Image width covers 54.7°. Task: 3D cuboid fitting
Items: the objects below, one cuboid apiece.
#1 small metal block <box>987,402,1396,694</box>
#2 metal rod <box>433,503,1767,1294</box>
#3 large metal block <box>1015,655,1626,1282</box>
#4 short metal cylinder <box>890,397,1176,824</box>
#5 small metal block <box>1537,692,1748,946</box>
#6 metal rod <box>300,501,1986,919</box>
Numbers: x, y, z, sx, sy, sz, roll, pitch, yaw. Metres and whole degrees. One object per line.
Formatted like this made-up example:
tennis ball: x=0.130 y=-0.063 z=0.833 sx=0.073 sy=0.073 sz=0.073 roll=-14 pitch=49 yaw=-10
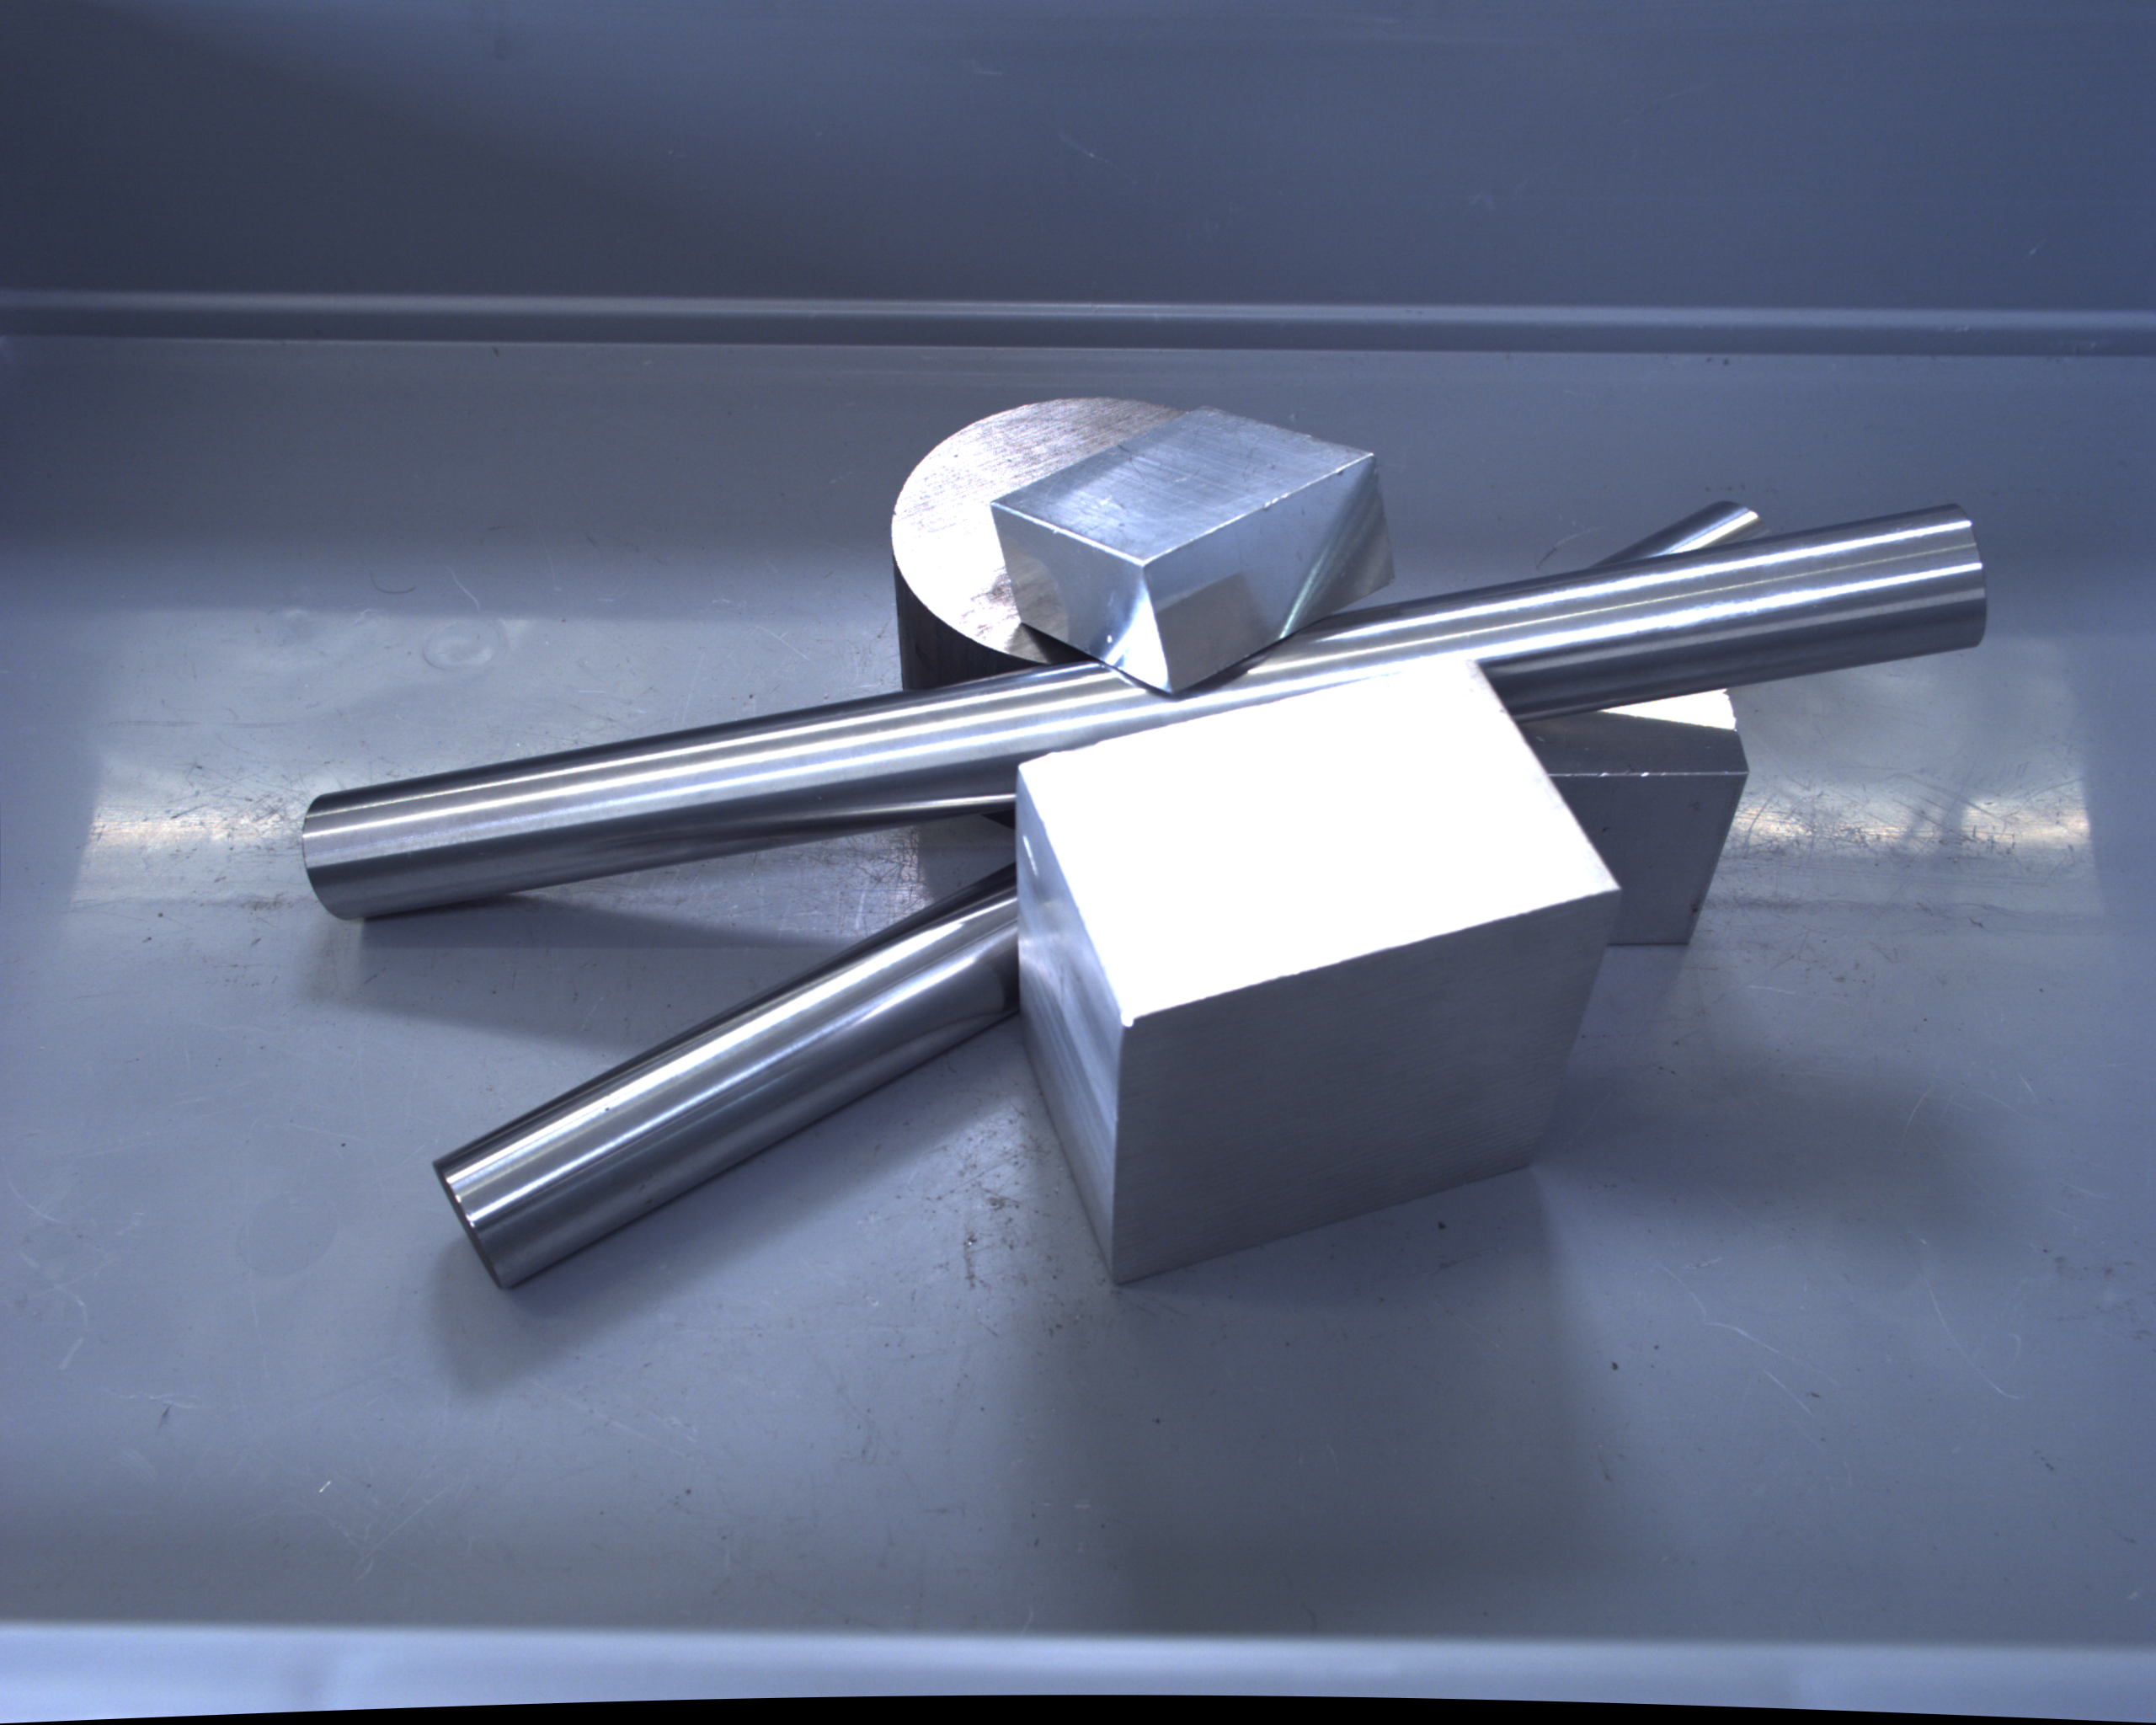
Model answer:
small metal block: x=0.020 y=-0.058 z=0.376 sx=0.050 sy=0.025 sz=0.050 roll=-29 pitch=33 yaw=-22
metal rod: x=0.022 y=-0.003 z=0.407 sx=0.302 sy=0.025 sz=0.025 roll=-28 pitch=55 yaw=-22
large metal block: x=0.036 y=0.019 z=0.350 sx=0.081 sy=0.080 sz=0.050 roll=-14 pitch=52 yaw=-12
short metal cylinder: x=0.003 y=-0.051 z=0.430 sx=0.081 sy=0.050 sz=0.080 roll=0 pitch=49 yaw=0
small metal block: x=0.094 y=-0.009 z=0.395 sx=0.050 sy=0.050 sz=0.025 roll=-1 pitch=50 yaw=1
metal rod: x=0.004 y=-0.025 z=0.378 sx=0.301 sy=0.025 sz=0.025 roll=-9 pitch=50 yaw=9
